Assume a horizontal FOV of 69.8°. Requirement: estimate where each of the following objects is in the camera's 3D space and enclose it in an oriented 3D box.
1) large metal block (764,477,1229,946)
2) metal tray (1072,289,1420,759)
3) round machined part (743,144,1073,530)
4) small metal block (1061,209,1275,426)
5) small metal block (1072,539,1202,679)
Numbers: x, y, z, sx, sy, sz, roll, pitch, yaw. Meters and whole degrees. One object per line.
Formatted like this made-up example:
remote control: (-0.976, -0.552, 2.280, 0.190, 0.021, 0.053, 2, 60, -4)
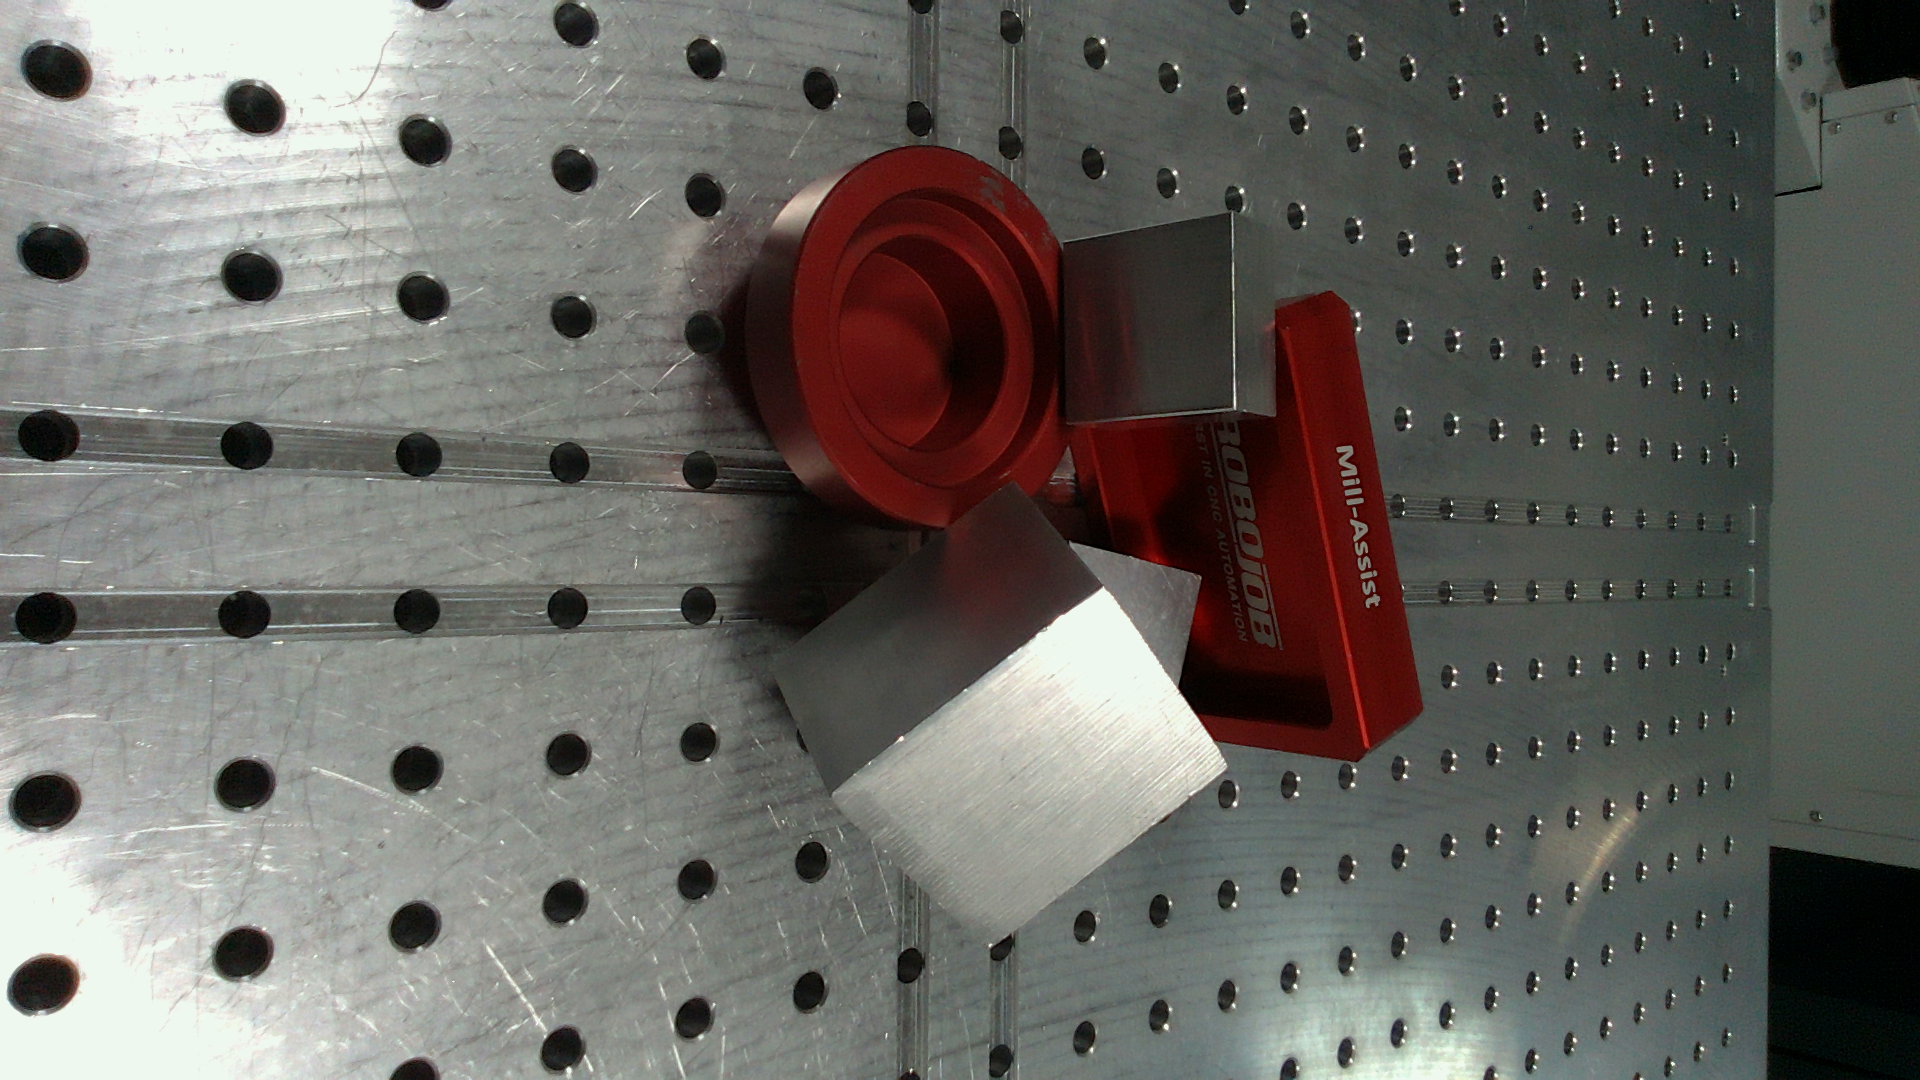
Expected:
large metal block: (0.010, 0.045, 0.355, 0.080, 0.050, 0.080, -37, 129, 1)
metal tray: (0.082, -0.004, 0.418, 0.030, 0.090, 0.130, -23, 104, -37)
round machined part: (-0.016, -0.052, 0.367, 0.098, 0.042, 0.098, 0, 90, -40)
small metal block: (0.055, -0.057, 0.369, 0.025, 0.050, 0.050, 0, 88, -54)
small metal block: (0.042, 0.029, 0.421, 0.050, 0.025, 0.050, 14, 86, -28)
